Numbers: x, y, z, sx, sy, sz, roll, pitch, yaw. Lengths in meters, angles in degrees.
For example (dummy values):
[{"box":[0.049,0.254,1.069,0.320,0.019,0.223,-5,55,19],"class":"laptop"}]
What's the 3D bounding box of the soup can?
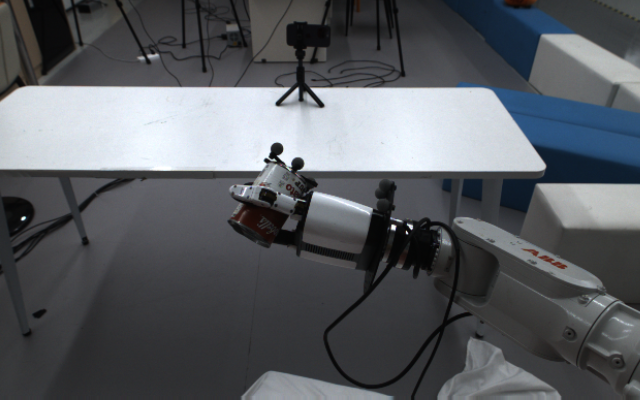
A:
[{"box":[-0.071,0.006,0.665,0.067,0.067,0.101,23,72,28],"class":"soup can"}]
